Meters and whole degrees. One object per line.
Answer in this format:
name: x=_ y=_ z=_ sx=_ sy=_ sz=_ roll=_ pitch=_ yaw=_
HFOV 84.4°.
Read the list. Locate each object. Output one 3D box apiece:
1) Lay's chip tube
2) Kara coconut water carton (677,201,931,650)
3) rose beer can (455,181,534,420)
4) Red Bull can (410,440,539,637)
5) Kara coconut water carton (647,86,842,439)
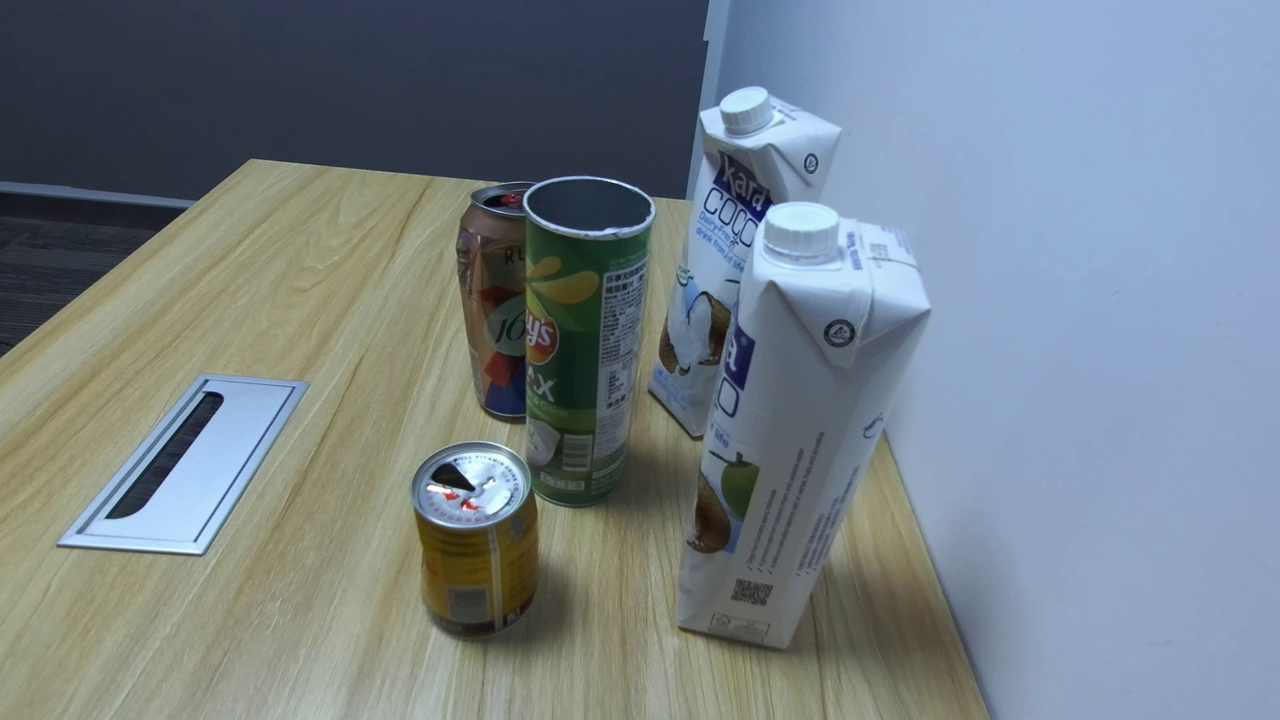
Lay's chip tube: x=-0.033 y=-0.004 z=0.426 sx=0.071 sy=0.202 sz=0.071 roll=4 pitch=38 yaw=-2
Kara coconut water carton: x=0.073 y=0.044 z=0.351 sx=0.075 sy=0.245 sz=0.077 roll=11 pitch=33 yaw=3
rose beer can: x=-0.085 y=-0.037 z=0.499 sx=0.076 sy=0.167 sz=0.065 roll=-7 pitch=34 yaw=-15
Red Bull can: x=-0.088 y=0.097 z=0.381 sx=0.069 sy=0.092 sz=0.069 roll=4 pitch=36 yaw=-3
Kara coconut water carton: x=0.067 y=-0.064 z=0.490 sx=0.071 sy=0.244 sz=0.099 roll=-19 pitch=43 yaw=-29
